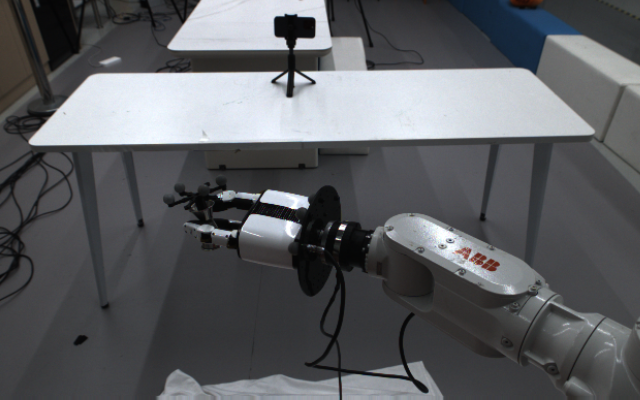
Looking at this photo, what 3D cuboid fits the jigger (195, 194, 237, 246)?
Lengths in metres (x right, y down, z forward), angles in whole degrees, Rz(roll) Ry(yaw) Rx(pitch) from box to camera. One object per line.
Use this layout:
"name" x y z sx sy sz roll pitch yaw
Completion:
"jigger" -0.172 0.039 0.749 0.043 0.071 0.043 -12 25 5
